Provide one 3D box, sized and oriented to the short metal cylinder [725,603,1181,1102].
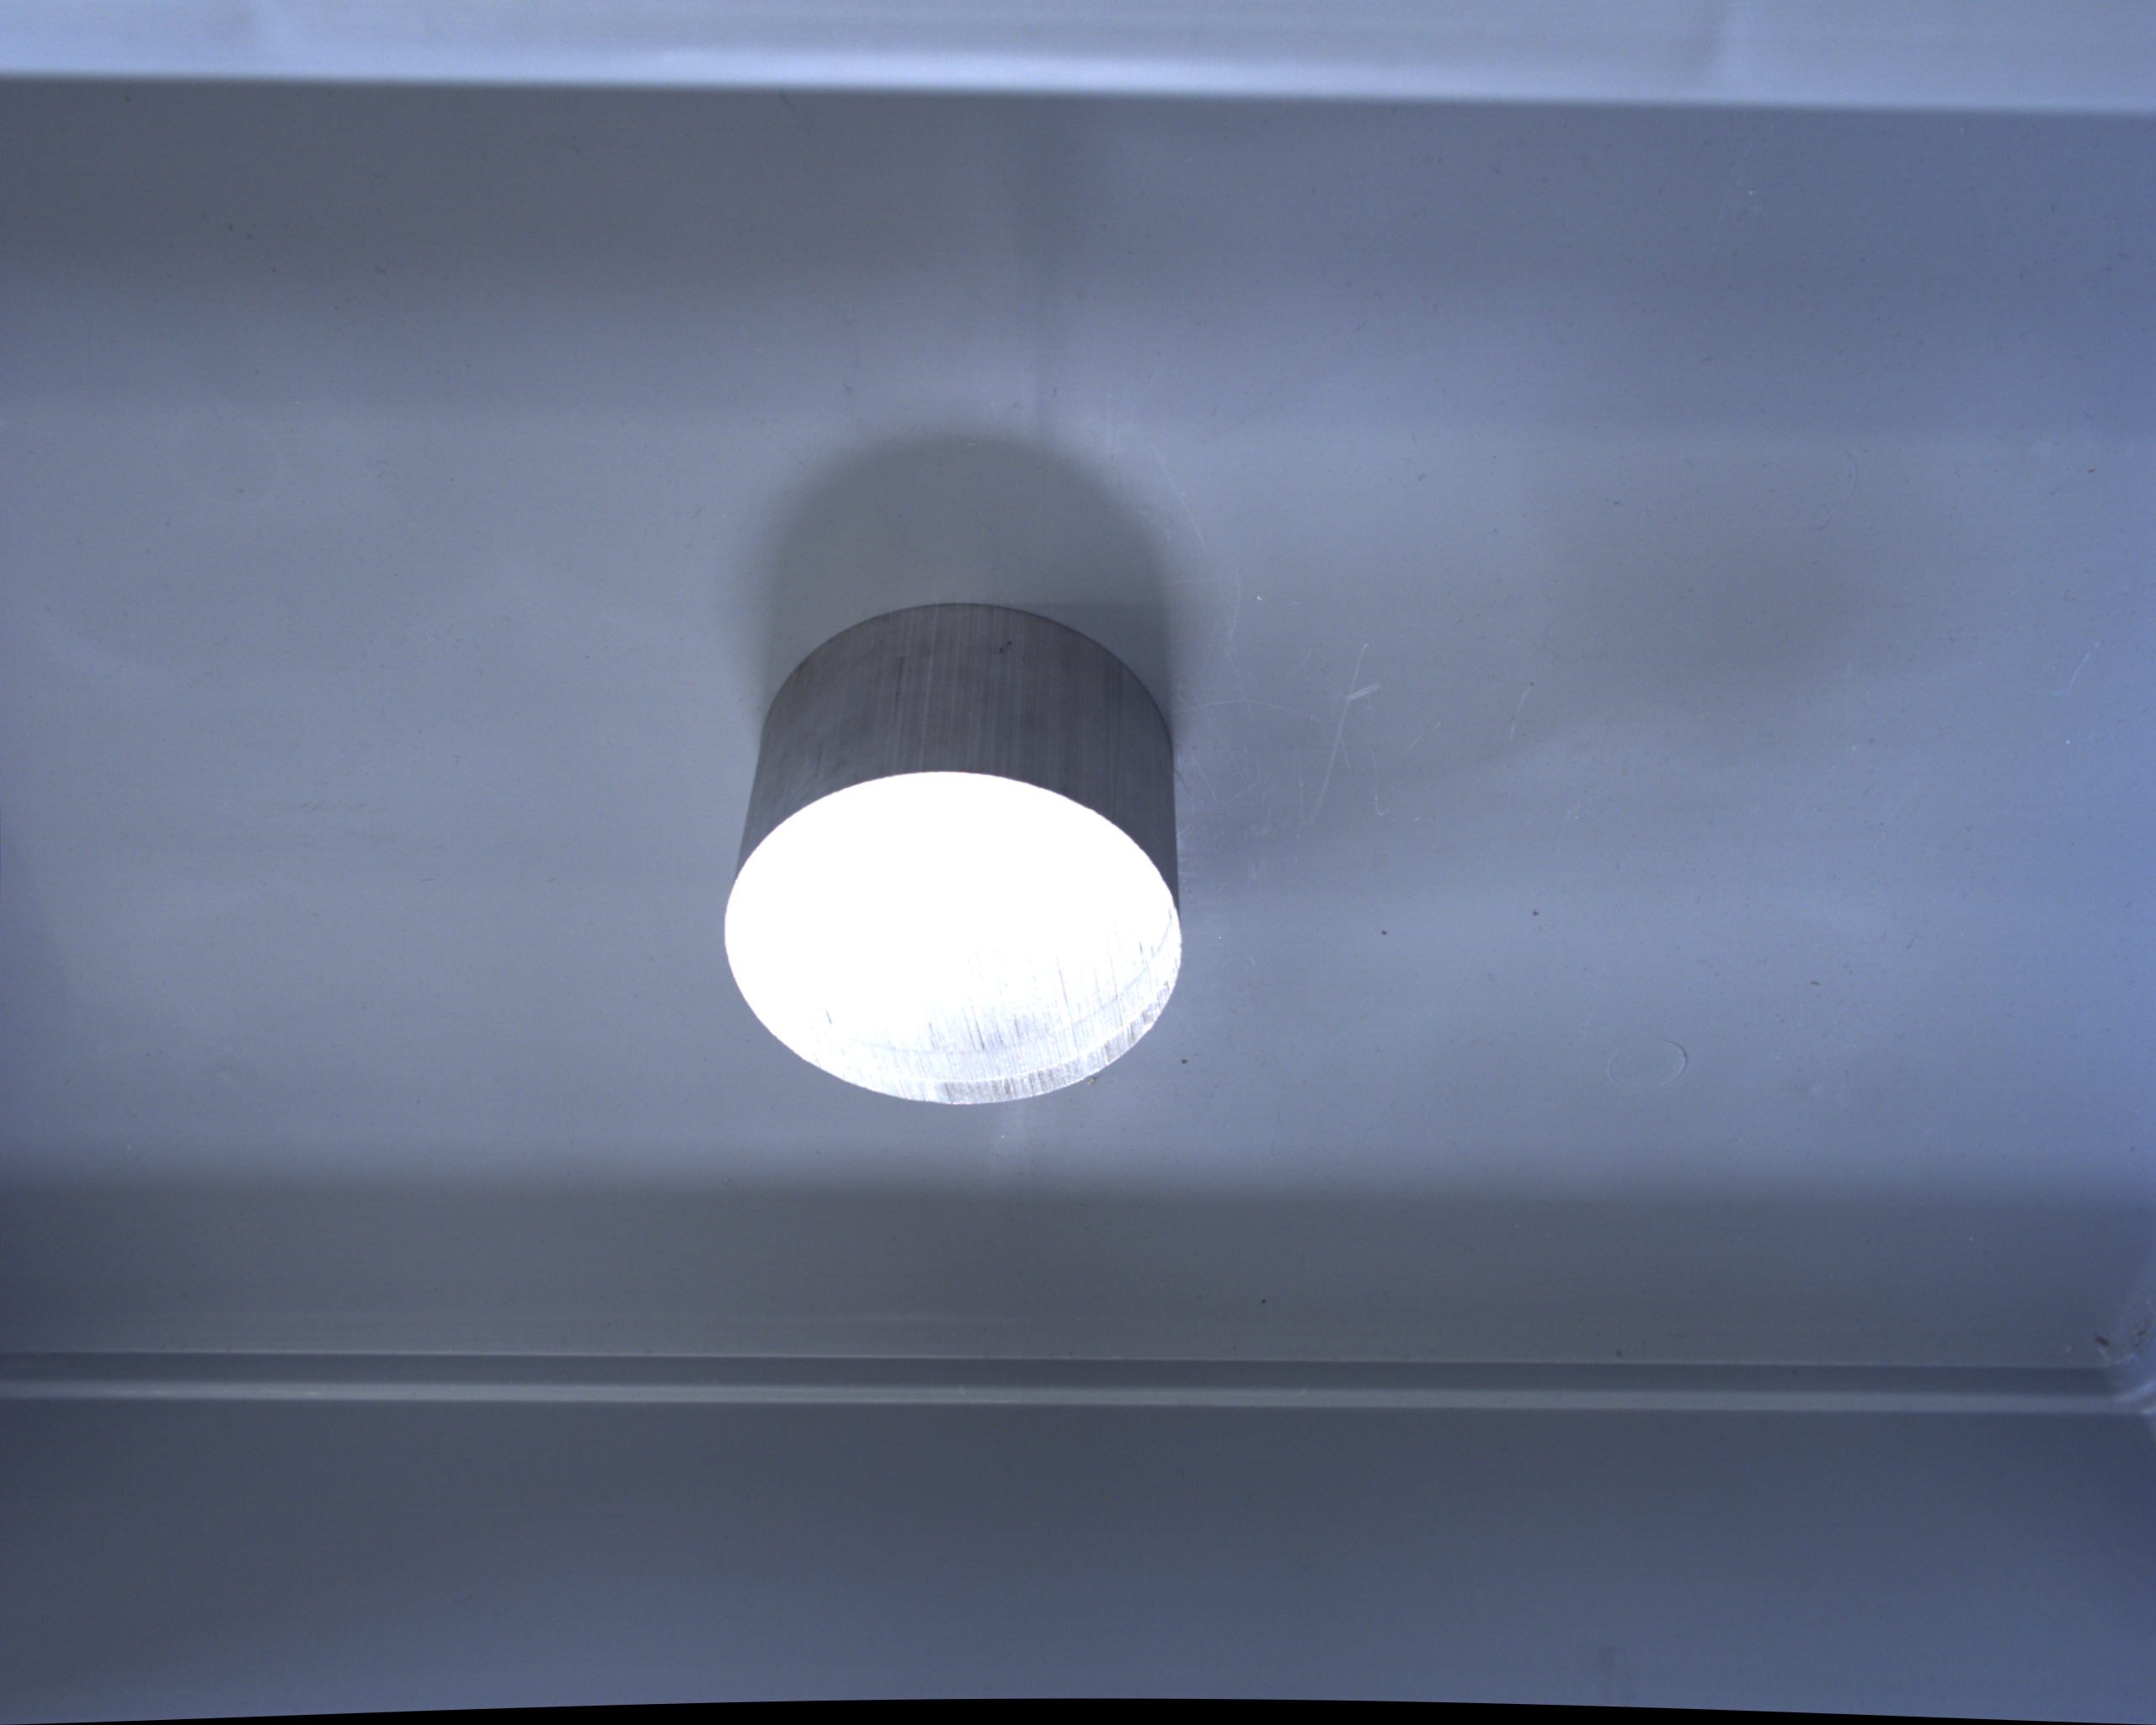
[{"bbox_3d":[-0.022,-0.001,0.389,0.080,0.050,0.080,0,130,0],"label":"short metal cylinder"}]
